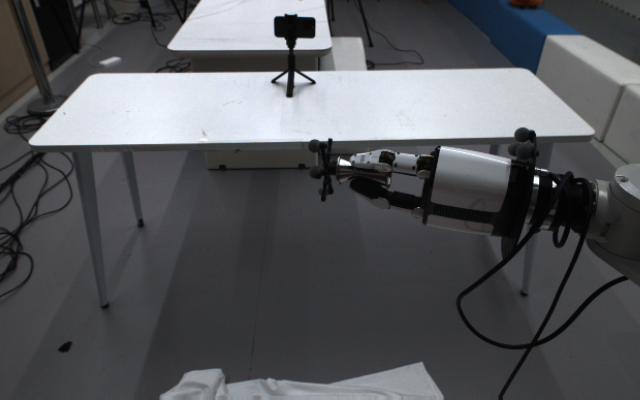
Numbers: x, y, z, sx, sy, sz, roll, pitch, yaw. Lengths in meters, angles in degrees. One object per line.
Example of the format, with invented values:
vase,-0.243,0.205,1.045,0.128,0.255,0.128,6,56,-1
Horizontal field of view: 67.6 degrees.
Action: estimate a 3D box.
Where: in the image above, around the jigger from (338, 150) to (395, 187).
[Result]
jigger,0.066,-0.042,0.643,0.071,0.043,0.043,3,34,15
